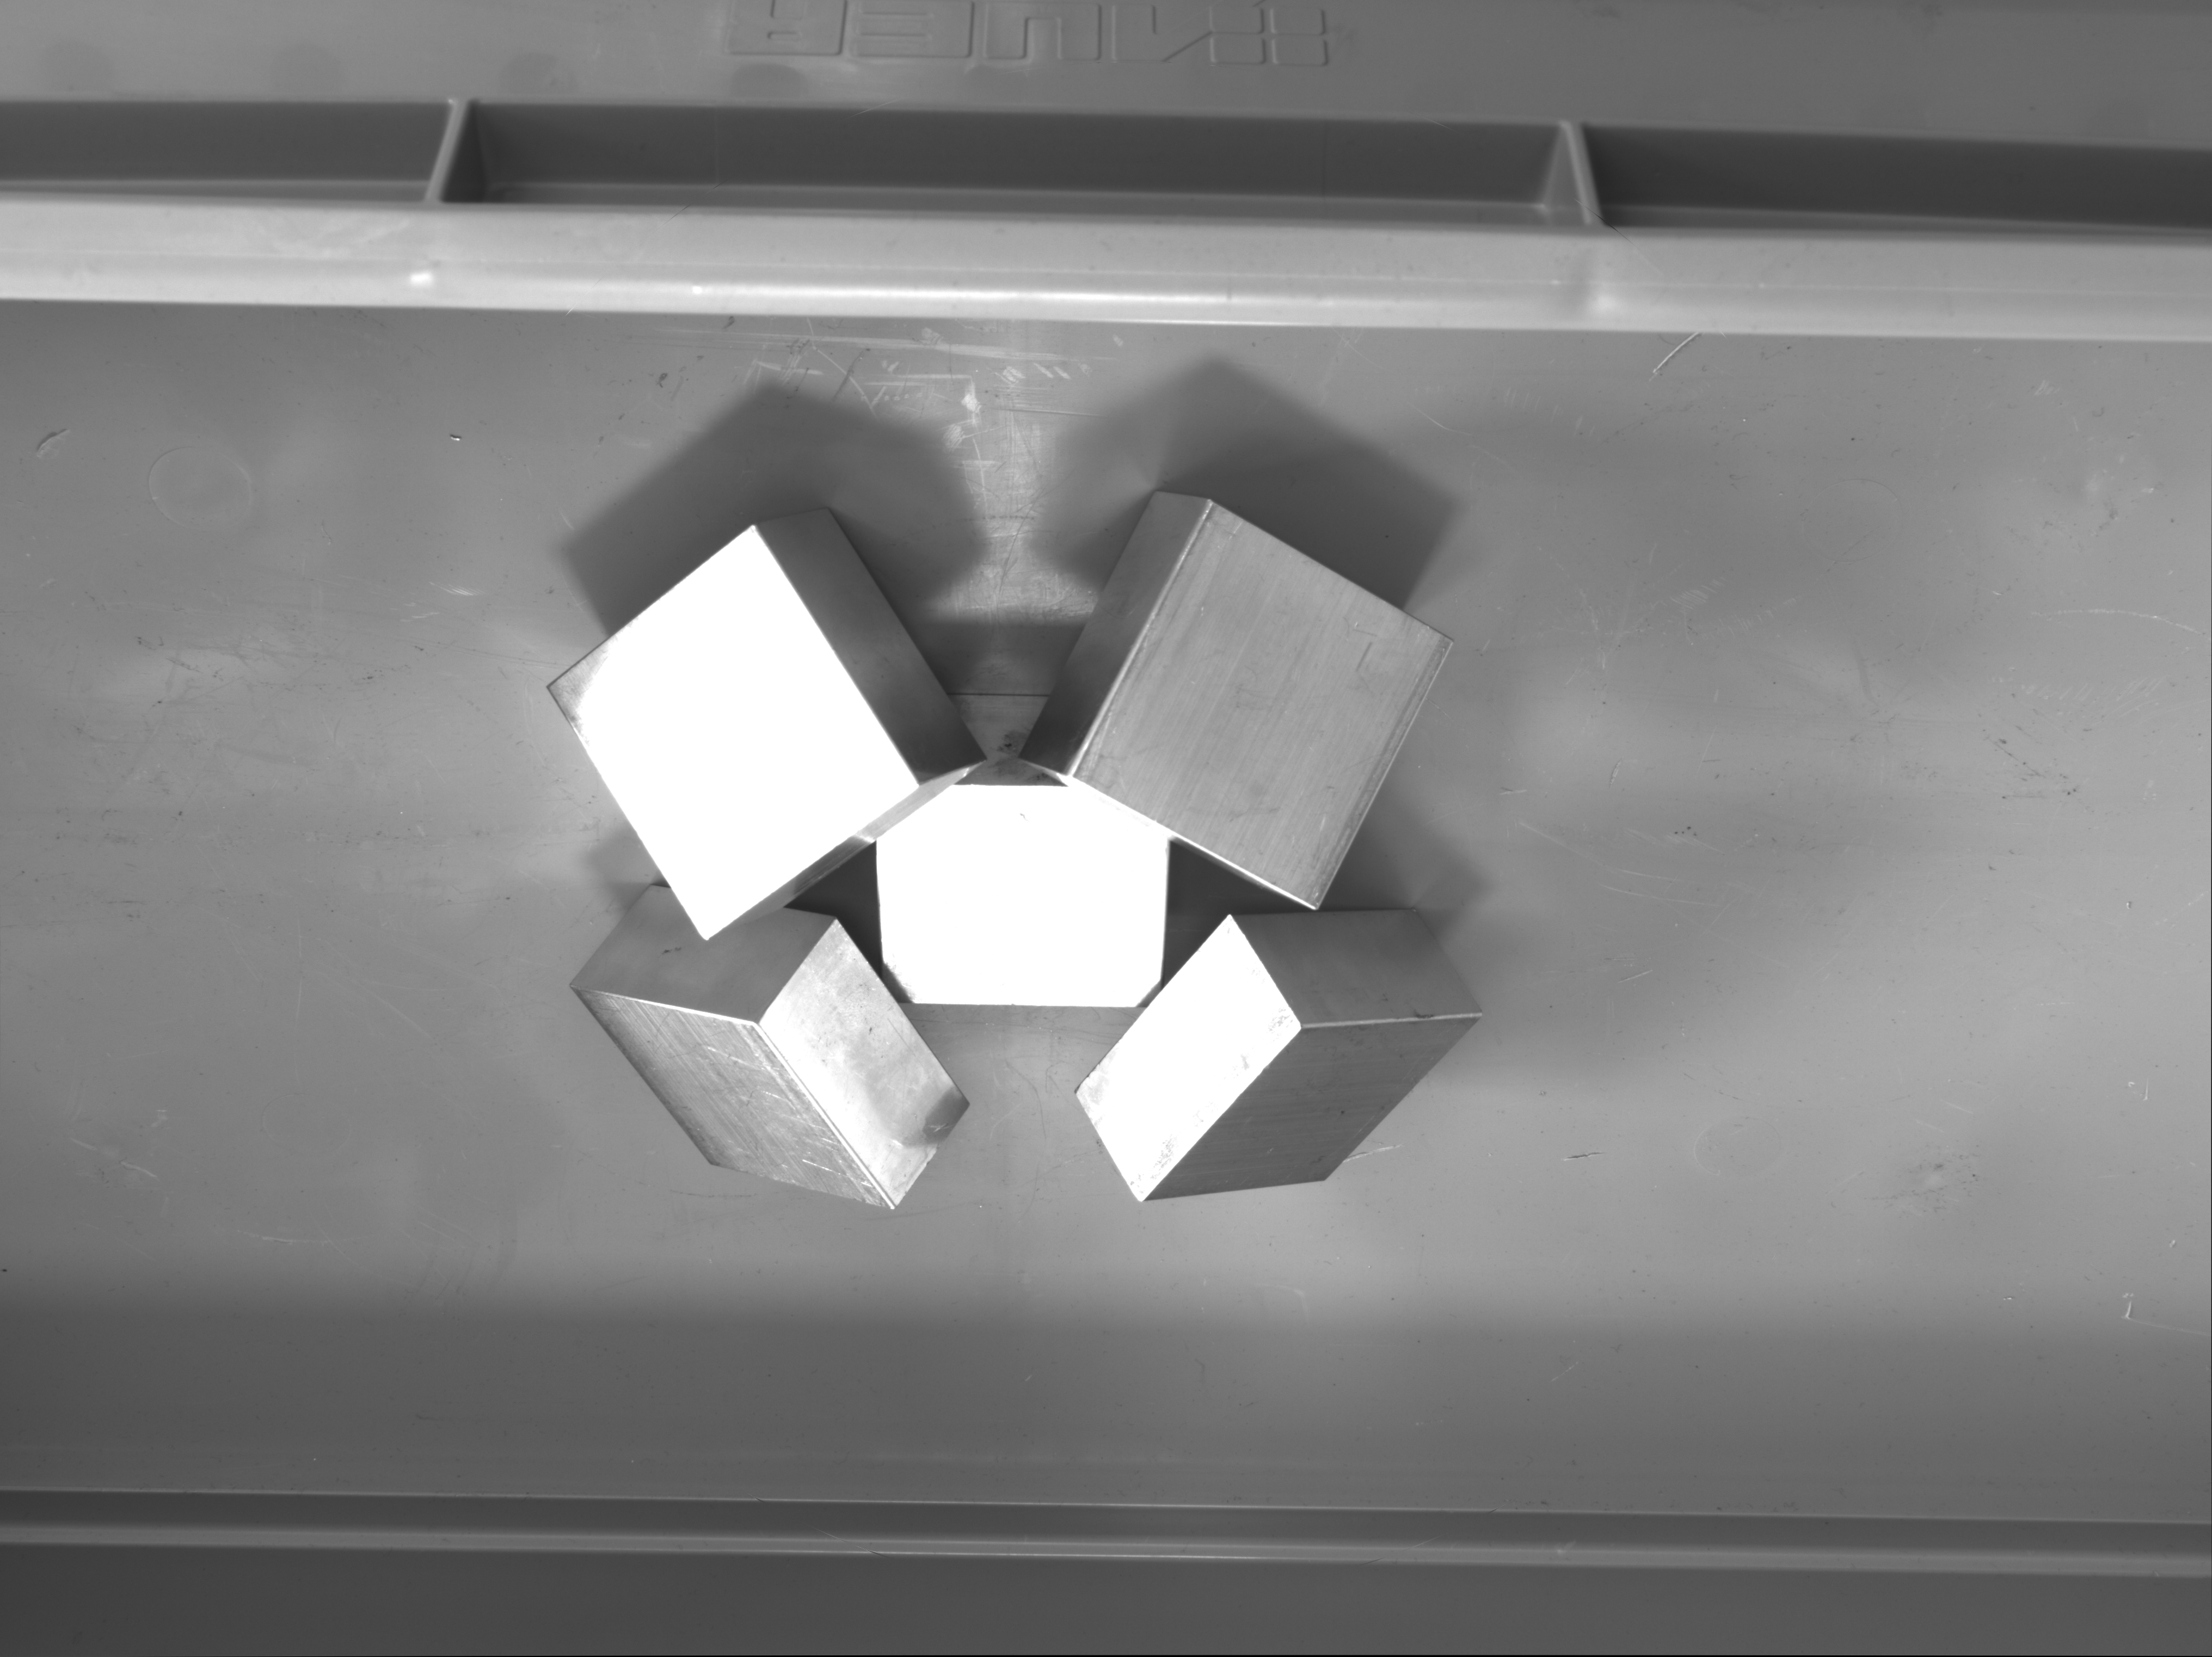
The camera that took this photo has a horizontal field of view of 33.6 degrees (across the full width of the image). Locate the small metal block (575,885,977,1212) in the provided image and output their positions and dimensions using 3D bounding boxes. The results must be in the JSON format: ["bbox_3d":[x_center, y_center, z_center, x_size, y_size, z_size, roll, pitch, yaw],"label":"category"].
[{"bbox_3d":[-0.059,0.038,0.654,0.050,0.025,0.050,10,143,44],"label":"small metal block"}]

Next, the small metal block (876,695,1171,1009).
[{"bbox_3d":[-0.014,0.004,0.640,0.050,0.025,0.050,1,130,-1],"label":"small metal block"}]

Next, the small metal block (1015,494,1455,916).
[{"bbox_3d":[0.021,-0.021,0.604,0.050,0.025,0.050,28,87,-22],"label":"small metal block"}]

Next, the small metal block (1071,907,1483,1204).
[{"bbox_3d":[0.031,0.040,0.656,0.050,0.025,0.050,-1,140,-46],"label":"small metal block"}]

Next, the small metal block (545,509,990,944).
[{"bbox_3d":[-0.056,-0.017,0.606,0.050,0.025,0.050,-35,84,26],"label":"small metal block"}]
